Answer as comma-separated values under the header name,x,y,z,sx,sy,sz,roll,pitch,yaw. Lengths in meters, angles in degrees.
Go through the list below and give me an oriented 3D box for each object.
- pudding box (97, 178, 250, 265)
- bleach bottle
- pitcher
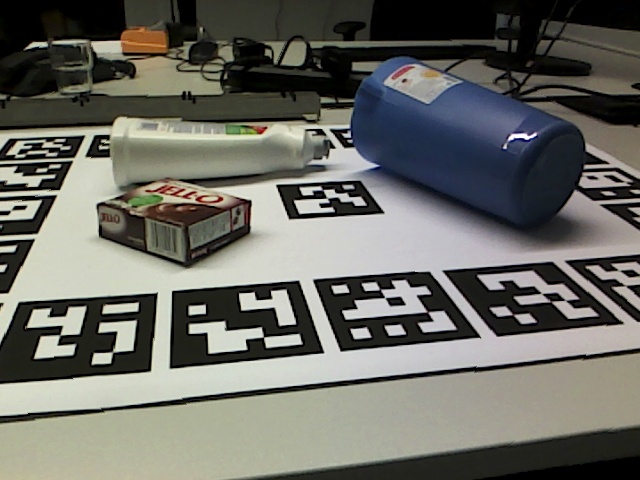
name,x,y,z,sx,sy,sz,roll,pitch,yaw
pudding box,-0.138,-0.021,0.582,0.114,0.038,0.089,20,27,28
bleach bottle,-0.115,-0.112,0.740,0.250,0.068,0.103,-4,33,-15
pitcher,0.162,-0.097,0.688,0.187,0.133,0.244,23,12,-47
